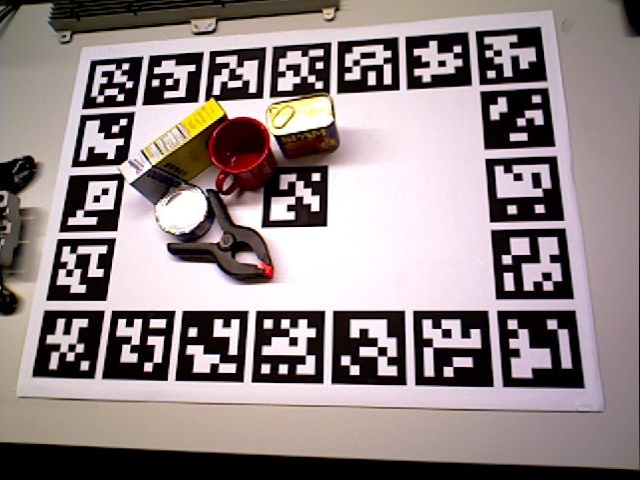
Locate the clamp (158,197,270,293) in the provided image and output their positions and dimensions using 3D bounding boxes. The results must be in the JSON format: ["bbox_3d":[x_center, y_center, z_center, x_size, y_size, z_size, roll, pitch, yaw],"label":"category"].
[{"bbox_3d":[-0.142,0.023,0.798,0.165,0.037,0.121,35,77,12],"label":"clamp"}]

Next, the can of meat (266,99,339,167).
[{"bbox_3d":[-0.023,-0.156,0.807,0.102,0.084,0.057,-8,70,4],"label":"can of meat"}]

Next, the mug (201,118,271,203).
[{"bbox_3d":[-0.124,-0.108,0.801,0.093,0.082,0.116,24,80,14],"label":"mug"}]

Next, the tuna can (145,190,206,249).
[{"bbox_3d":[-0.217,-0.030,0.821,0.086,0.034,0.085,-3,75,8],"label":"tuna can"}]

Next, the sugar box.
[{"bbox_3d":[-0.215,-0.121,0.823,0.175,0.093,0.045,-36,69,-5],"label":"sugar box"}]
